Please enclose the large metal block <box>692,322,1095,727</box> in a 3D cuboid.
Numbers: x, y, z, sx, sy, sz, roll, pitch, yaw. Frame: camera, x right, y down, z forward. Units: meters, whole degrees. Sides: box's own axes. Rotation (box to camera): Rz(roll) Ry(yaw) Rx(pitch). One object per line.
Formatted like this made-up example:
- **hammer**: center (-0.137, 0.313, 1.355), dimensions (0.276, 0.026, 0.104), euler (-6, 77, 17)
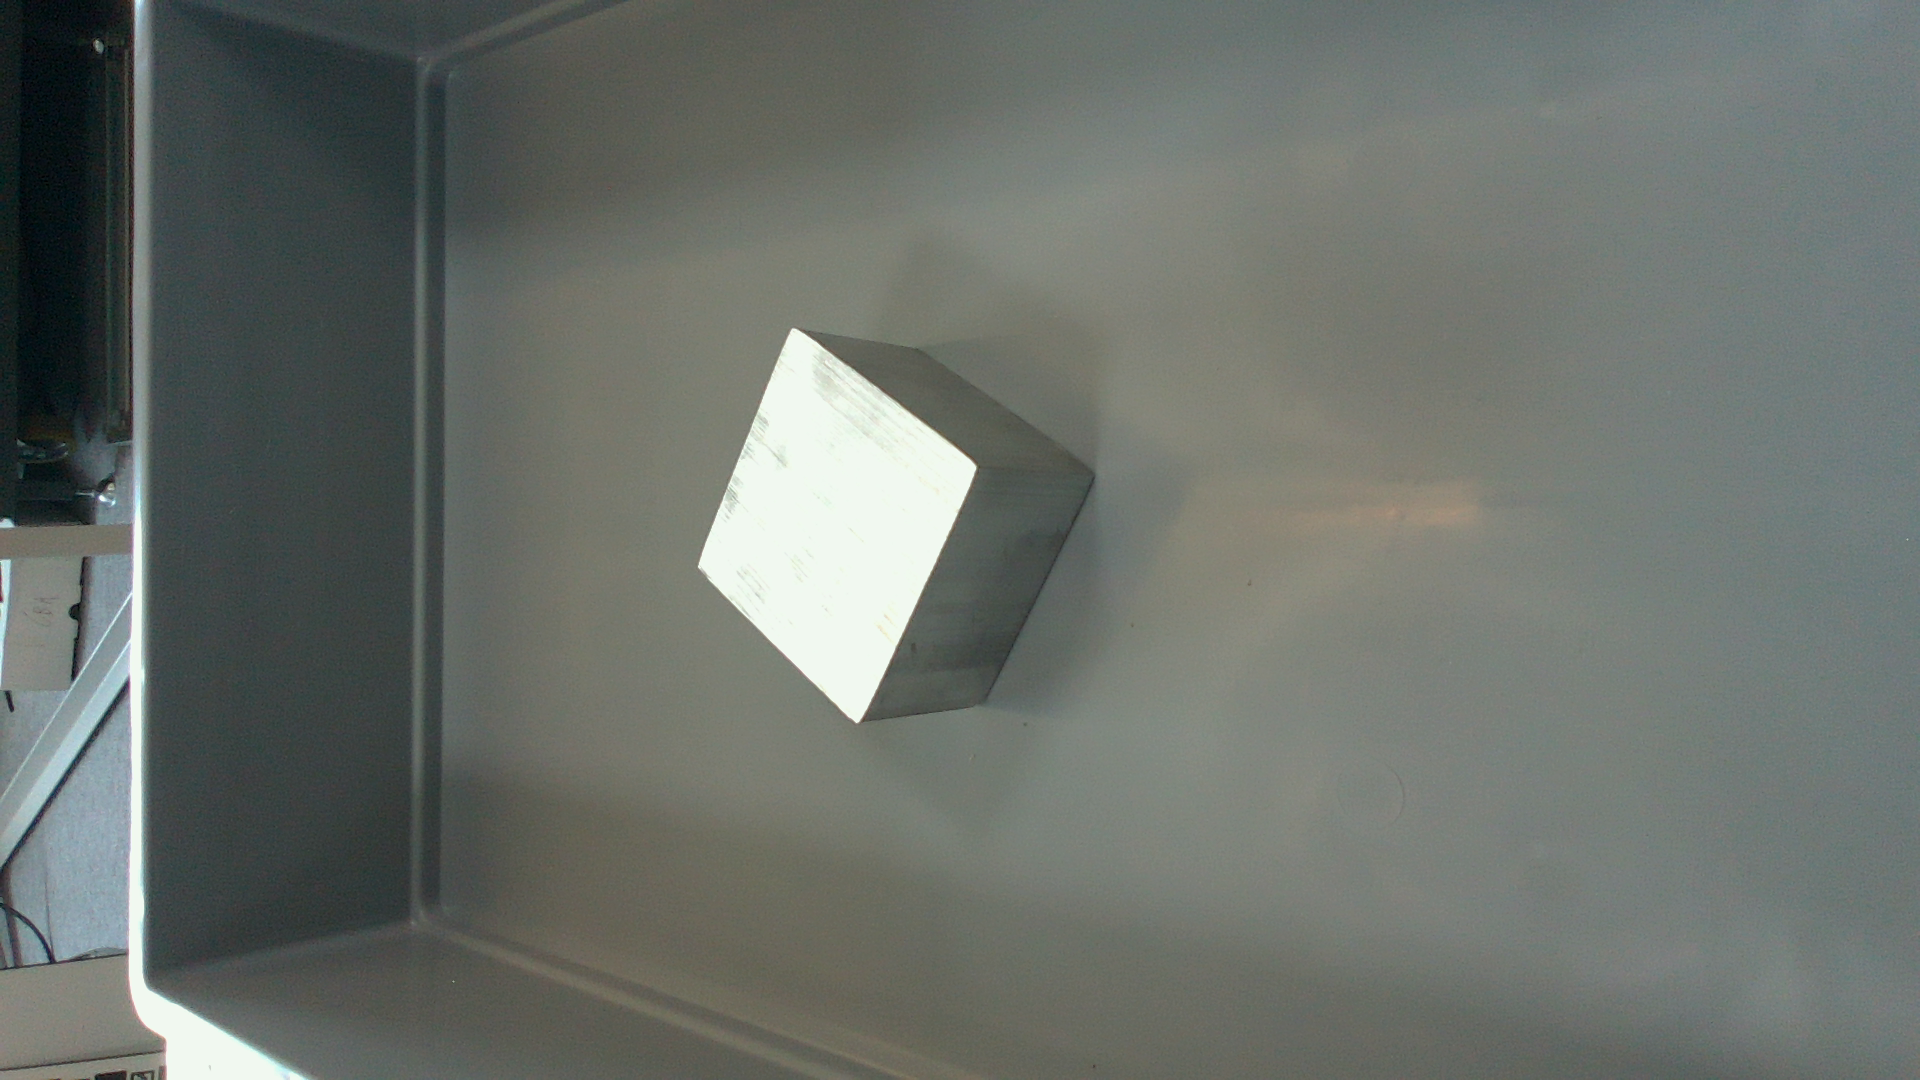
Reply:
- **large metal block**: center (-0.021, -0.005, 0.392), dimensions (0.080, 0.050, 0.080), euler (39, 113, 33)
